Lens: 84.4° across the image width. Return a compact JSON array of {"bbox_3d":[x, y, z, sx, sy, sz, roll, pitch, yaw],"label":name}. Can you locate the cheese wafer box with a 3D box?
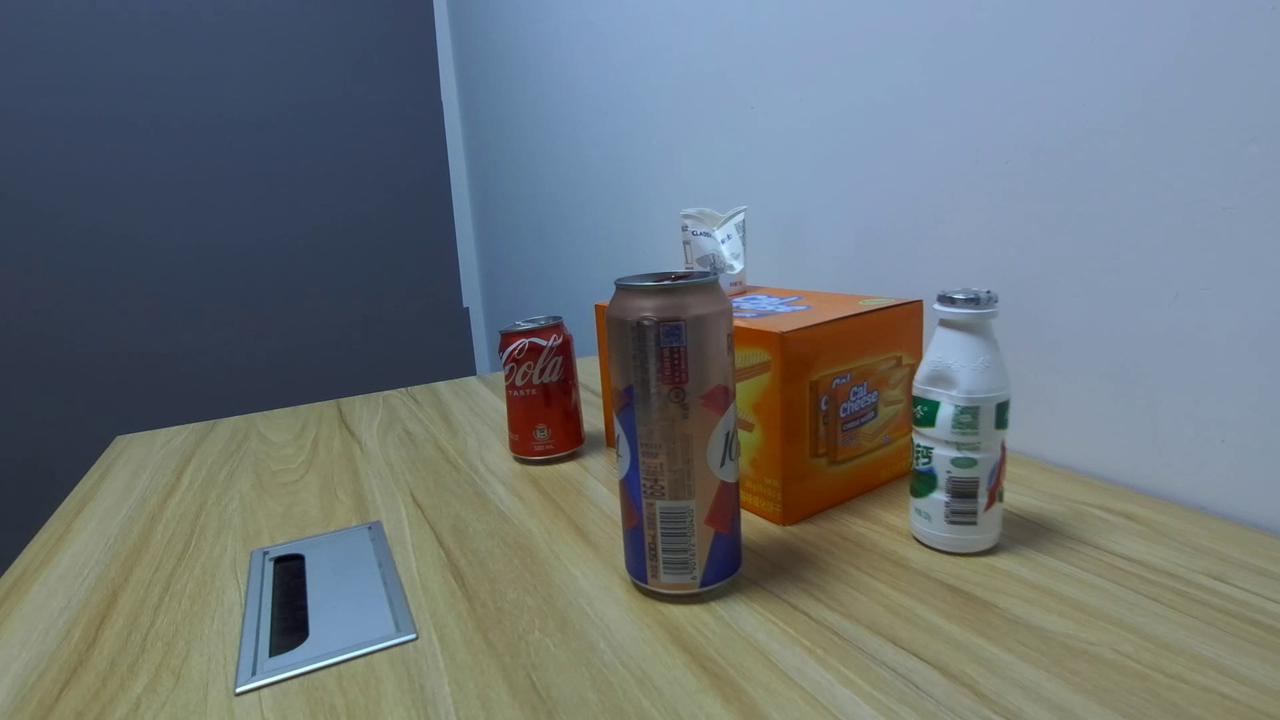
[{"bbox_3d":[0.086,0.016,0.557,0.149,0.129,0.221,-13,16,-33],"label":"cheese wafer box"}]

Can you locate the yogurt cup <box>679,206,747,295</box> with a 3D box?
[{"bbox_3d":[0.064,-0.094,0.606,0.055,0.072,0.055,0,16,11],"label":"yogurt cup"}]

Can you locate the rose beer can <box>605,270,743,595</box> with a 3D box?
[{"bbox_3d":[0.019,0.040,0.383,0.068,0.169,0.068,-5,13,1],"label":"rose beer can"}]

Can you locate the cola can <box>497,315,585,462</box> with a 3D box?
[{"bbox_3d":[-0.082,0.024,0.596,0.065,0.117,0.072,2,14,19],"label":"cola can"}]

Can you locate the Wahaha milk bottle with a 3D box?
[{"bbox_3d":[0.182,0.040,0.404,0.053,0.136,0.053,-3,14,1],"label":"Wahaha milk bottle"}]
